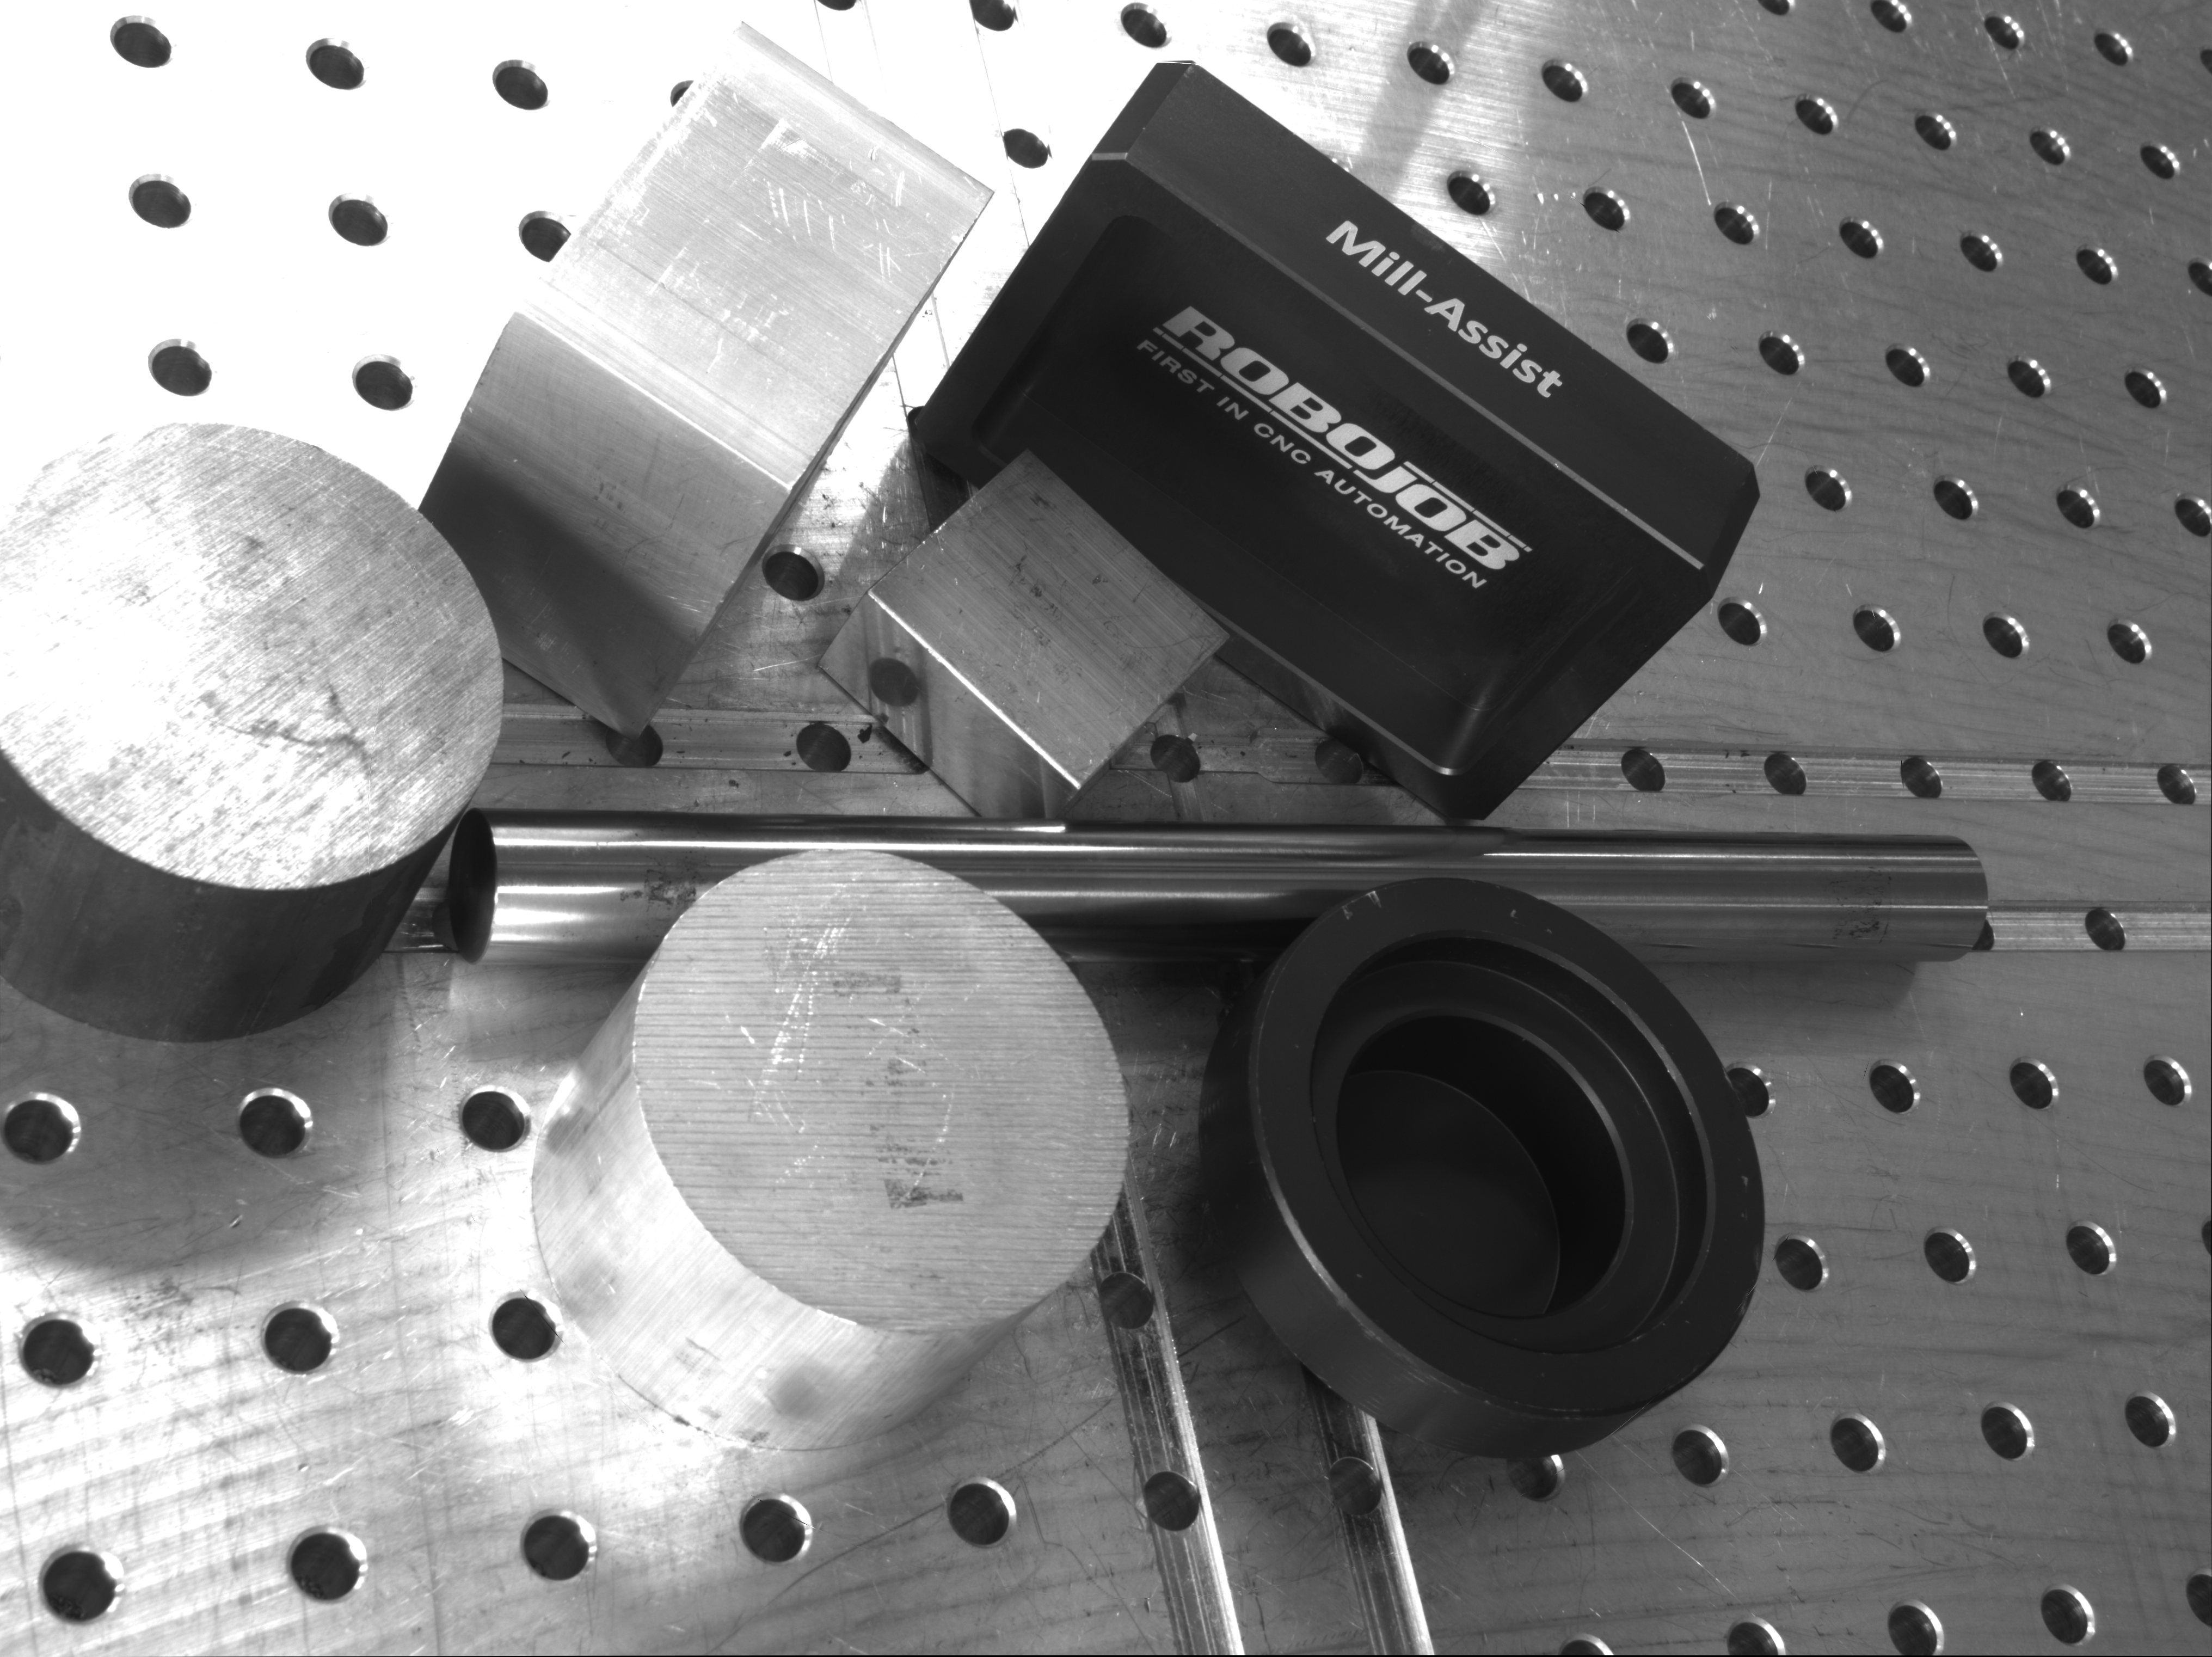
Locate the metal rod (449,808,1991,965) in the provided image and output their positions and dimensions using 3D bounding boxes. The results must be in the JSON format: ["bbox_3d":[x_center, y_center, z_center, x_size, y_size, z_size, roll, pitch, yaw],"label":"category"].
[{"bbox_3d":[0.033,0.011,0.652,0.301,0.025,0.025,1,61,-28],"label":"metal rod"}]

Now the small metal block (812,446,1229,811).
[{"bbox_3d":[-0.015,-0.032,0.654,0.050,0.025,0.050,43,51,2],"label":"small metal block"}]

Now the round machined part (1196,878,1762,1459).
[{"bbox_3d":[0.059,0.061,0.625,0.098,0.042,0.098,14,56,-21],"label":"round machined part"}]

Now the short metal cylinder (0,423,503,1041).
[{"bbox_3d":[-0.138,-0.015,0.560,0.080,0.050,0.080,14,56,-21],"label":"short metal cylinder"}]

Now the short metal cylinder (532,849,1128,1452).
[{"bbox_3d":[-0.043,0.050,0.571,0.080,0.050,0.080,14,56,-21],"label":"short metal cylinder"}]

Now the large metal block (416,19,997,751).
[{"bbox_3d":[-0.071,-0.073,0.614,0.050,0.080,0.080,34,51,-6],"label":"large metal block"}]

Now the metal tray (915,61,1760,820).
[{"bbox_3d":[0.040,-0.067,0.662,0.130,0.090,0.030,35,51,-5],"label":"metal tray"}]
